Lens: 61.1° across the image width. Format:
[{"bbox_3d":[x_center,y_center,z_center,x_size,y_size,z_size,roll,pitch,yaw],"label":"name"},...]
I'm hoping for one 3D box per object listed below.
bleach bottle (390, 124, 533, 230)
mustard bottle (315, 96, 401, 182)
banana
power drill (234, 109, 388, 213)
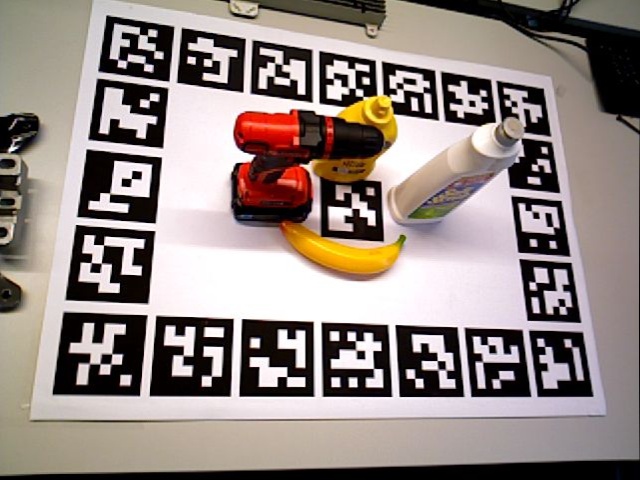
[{"bbox_3d":[0.193,-0.085,0.746,0.101,0.255,0.067,-3,74,-18],"label":"bleach bottle"},{"bbox_3d":[0.063,-0.144,0.751,0.095,0.195,0.058,6,70,-16],"label":"mustard bottle"},{"bbox_3d":[0.047,0.015,0.779,0.195,0.039,0.074,8,75,-12],"label":"banana"},{"bbox_3d":[-0.029,-0.102,0.691,0.182,0.191,0.057,3,64,-18],"label":"power drill"}]
